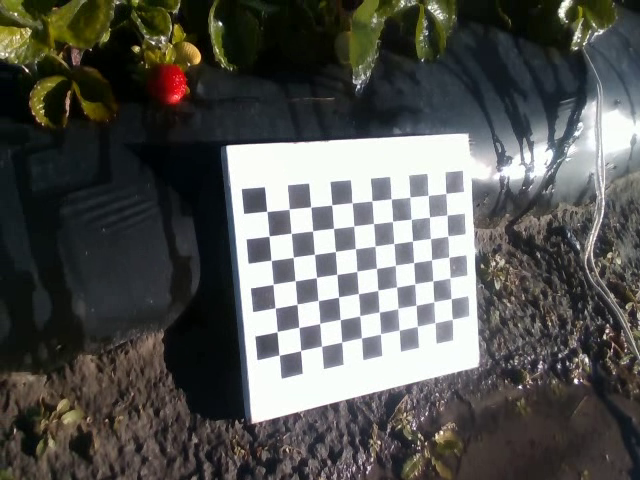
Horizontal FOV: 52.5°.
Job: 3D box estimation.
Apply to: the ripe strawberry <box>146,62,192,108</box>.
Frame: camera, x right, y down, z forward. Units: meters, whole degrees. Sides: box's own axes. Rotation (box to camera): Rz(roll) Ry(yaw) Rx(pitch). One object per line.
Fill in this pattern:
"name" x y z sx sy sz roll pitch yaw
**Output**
"ripe strawberry" -0.105 -0.106 0.457 0.039 0.040 0.039 -16 36 -14
